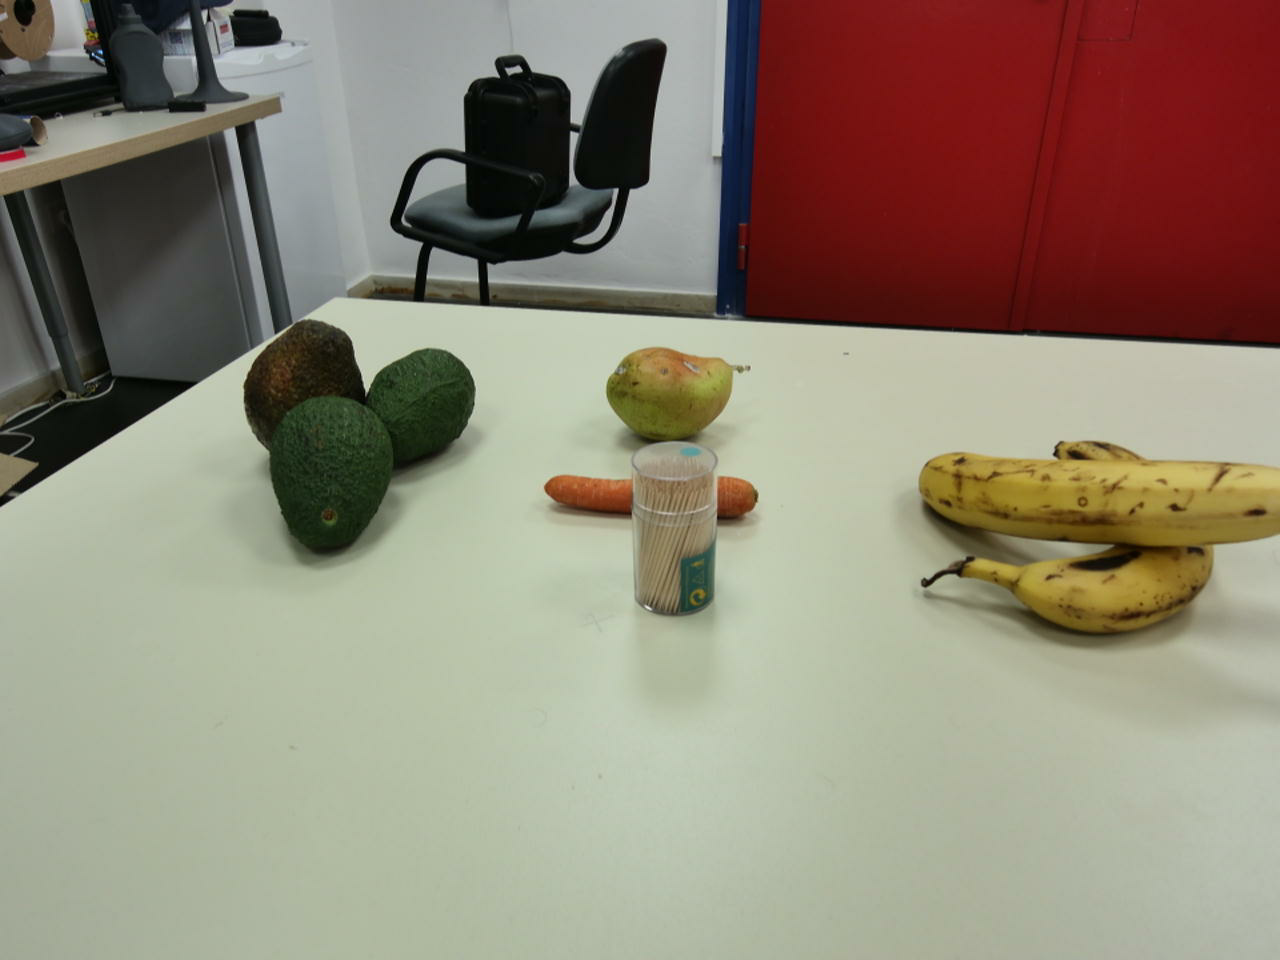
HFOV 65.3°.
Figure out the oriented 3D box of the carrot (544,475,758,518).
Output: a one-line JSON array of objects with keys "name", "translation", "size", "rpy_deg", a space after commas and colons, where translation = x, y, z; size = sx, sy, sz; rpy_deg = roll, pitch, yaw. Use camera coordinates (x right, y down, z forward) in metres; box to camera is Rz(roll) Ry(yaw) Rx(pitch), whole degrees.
[{"name": "carrot", "translation": [0.005, 0.008, 0.568], "size": [0.122, 0.023, 0.024], "rpy_deg": [4, 26, 8]}]
